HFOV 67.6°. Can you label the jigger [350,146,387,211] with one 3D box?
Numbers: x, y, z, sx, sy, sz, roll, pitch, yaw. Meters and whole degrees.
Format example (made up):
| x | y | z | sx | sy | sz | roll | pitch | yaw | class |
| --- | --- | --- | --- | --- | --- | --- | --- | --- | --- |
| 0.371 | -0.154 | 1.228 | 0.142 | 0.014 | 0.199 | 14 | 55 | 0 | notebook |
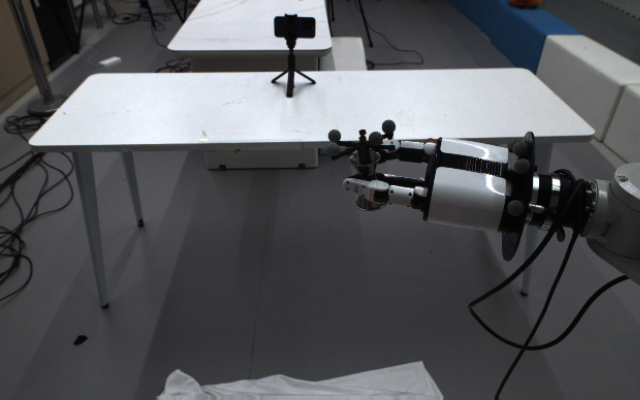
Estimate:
| x | y | z | sx | sy | sz | roll | pitch | yaw | class |
| --- | --- | --- | --- | --- | --- | --- | --- | --- | --- |
| 0.064 | -0.026 | 0.634 | 0.043 | 0.071 | 0.043 | -10 | 31 | 6 | jigger |
